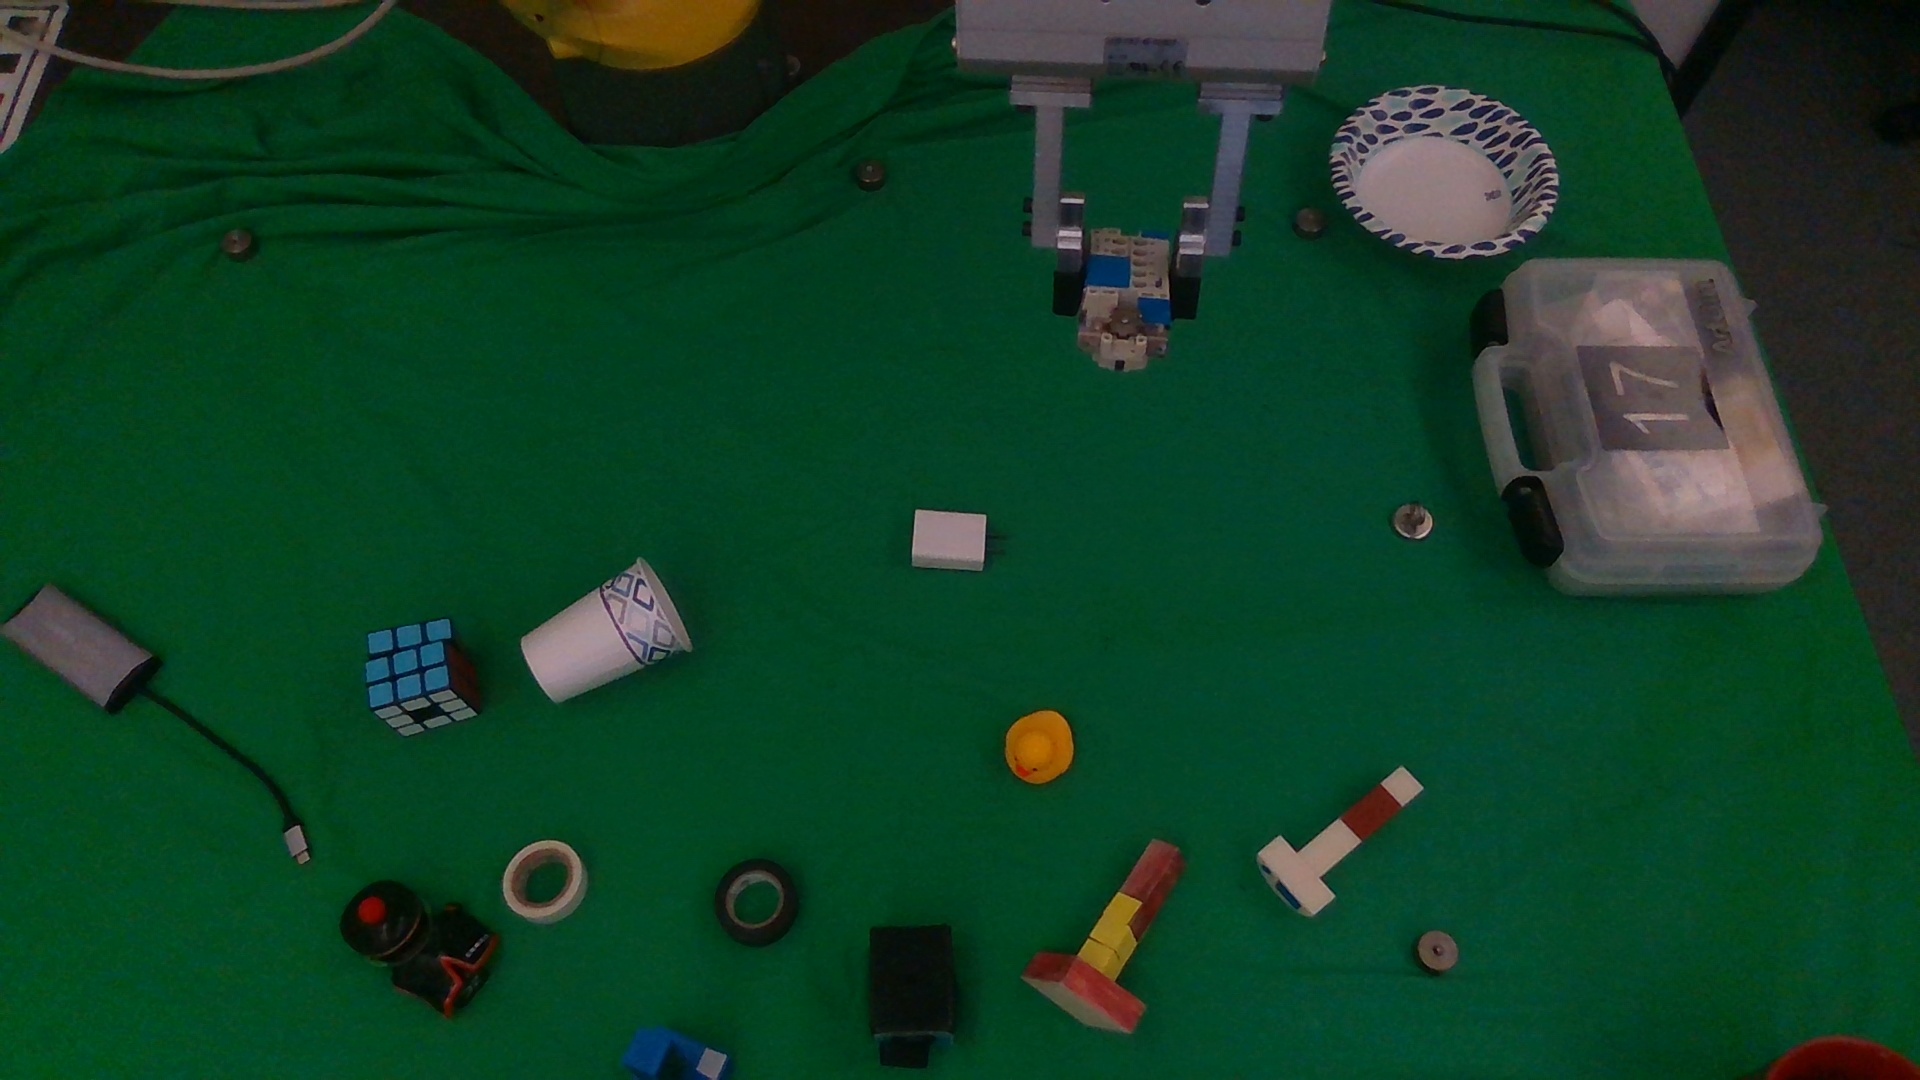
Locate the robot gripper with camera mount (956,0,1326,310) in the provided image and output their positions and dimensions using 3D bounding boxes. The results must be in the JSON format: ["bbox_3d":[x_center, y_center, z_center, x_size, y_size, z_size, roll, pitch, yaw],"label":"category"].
[{"bbox_3d":[0.067,-0.206,0.538,0.119,0.158,0.193,3,46,5],"label":"robot gripper with camera mount"}]

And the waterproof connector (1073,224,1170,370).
[{"bbox_3d":[0.062,-0.094,0.535,0.035,0.037,0.065,5,49,1],"label":"waterproof connector"}]
